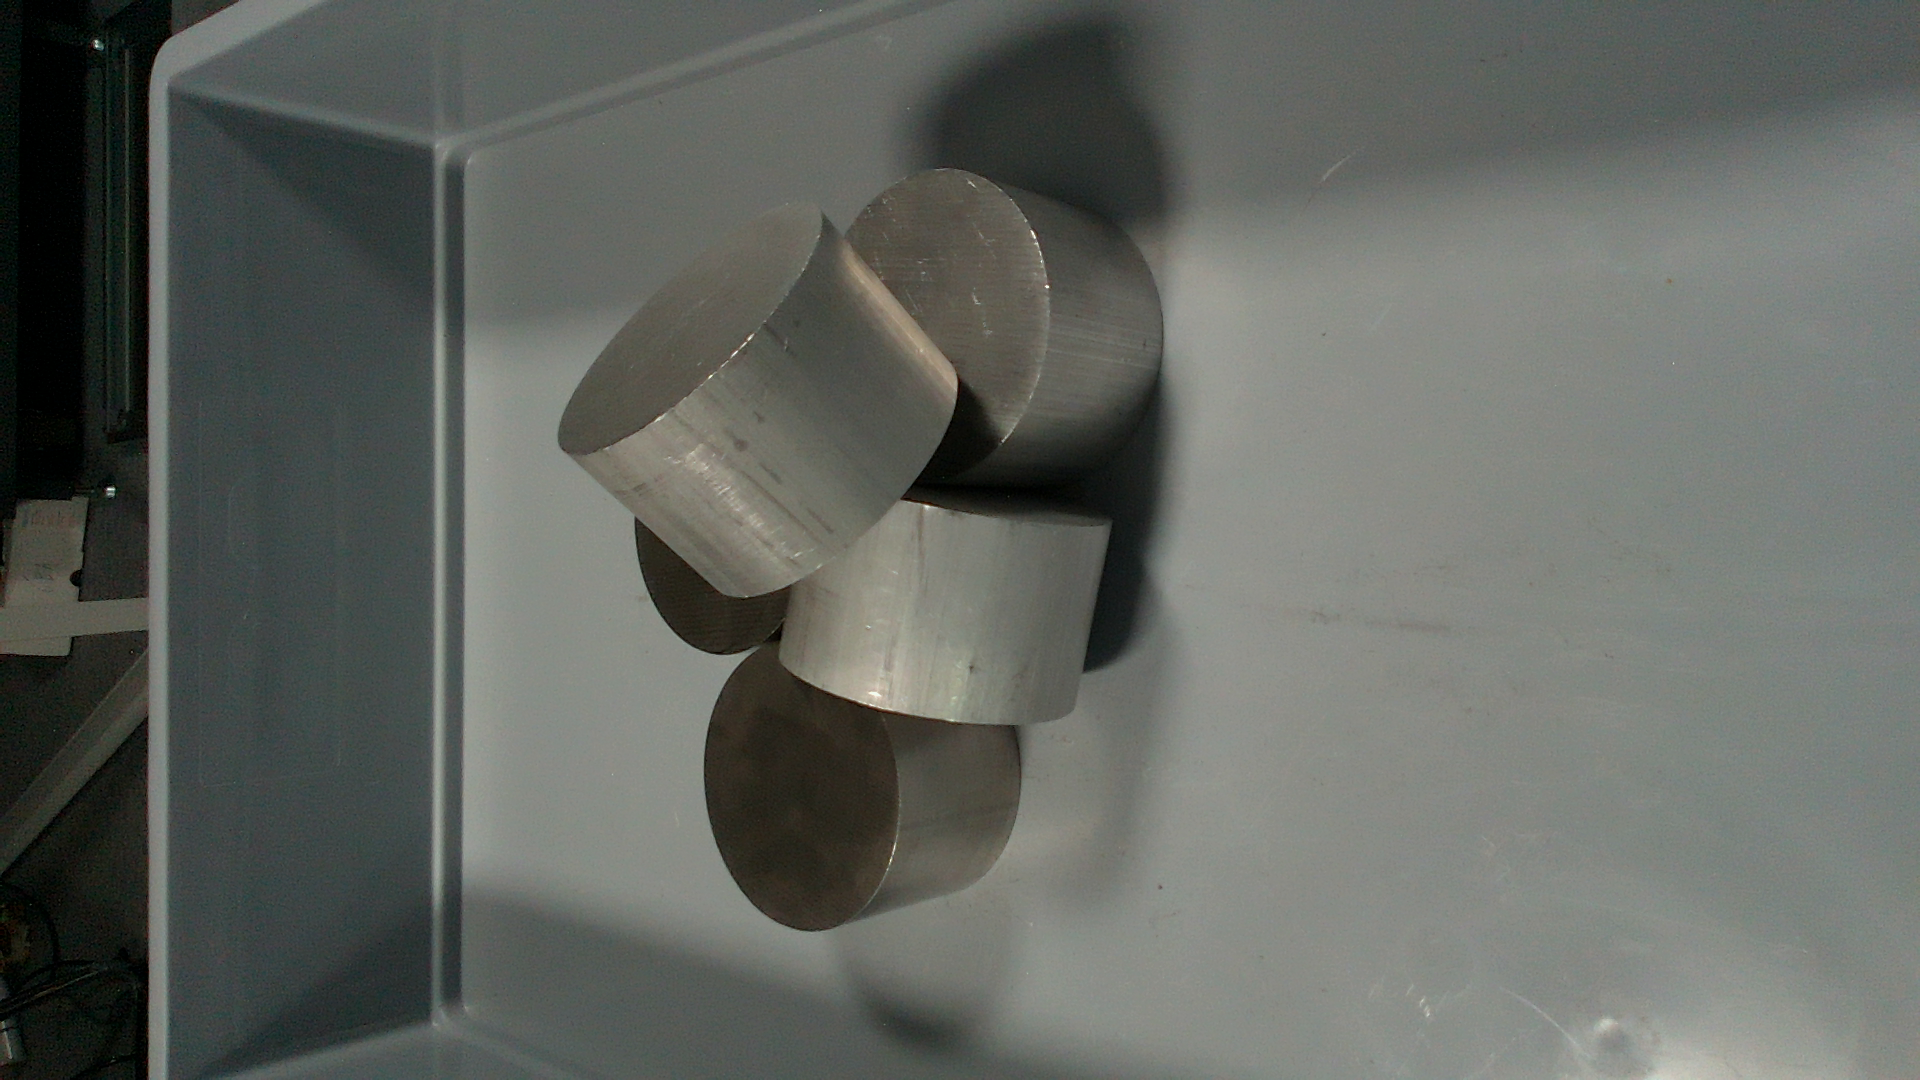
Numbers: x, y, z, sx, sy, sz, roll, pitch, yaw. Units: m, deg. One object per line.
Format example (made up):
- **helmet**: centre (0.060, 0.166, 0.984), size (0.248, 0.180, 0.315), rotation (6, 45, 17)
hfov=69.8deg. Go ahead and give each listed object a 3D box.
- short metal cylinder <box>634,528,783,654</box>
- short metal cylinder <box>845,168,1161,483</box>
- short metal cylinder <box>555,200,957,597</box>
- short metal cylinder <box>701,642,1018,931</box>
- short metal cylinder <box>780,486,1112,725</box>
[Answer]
- **short metal cylinder**: centre (-0.055, -0.007, 0.423), size (0.080, 0.050, 0.080), rotation (0, 90, 40)
- **short metal cylinder**: centre (0.007, -0.055, 0.371), size (0.080, 0.050, 0.080), rotation (0, 90, 40)
- **short metal cylinder**: centre (-0.048, -0.033, 0.325), size (0.080, 0.050, 0.080), rotation (-29, 33, 22)
- **short metal cylinder**: centre (-0.030, 0.068, 0.402), size (0.080, 0.050, 0.080), rotation (0, 90, 40)
- **short metal cylinder**: centre (-0.004, 0.011, 0.362), size (0.080, 0.080, 0.050), rotation (17, 101, 39)
